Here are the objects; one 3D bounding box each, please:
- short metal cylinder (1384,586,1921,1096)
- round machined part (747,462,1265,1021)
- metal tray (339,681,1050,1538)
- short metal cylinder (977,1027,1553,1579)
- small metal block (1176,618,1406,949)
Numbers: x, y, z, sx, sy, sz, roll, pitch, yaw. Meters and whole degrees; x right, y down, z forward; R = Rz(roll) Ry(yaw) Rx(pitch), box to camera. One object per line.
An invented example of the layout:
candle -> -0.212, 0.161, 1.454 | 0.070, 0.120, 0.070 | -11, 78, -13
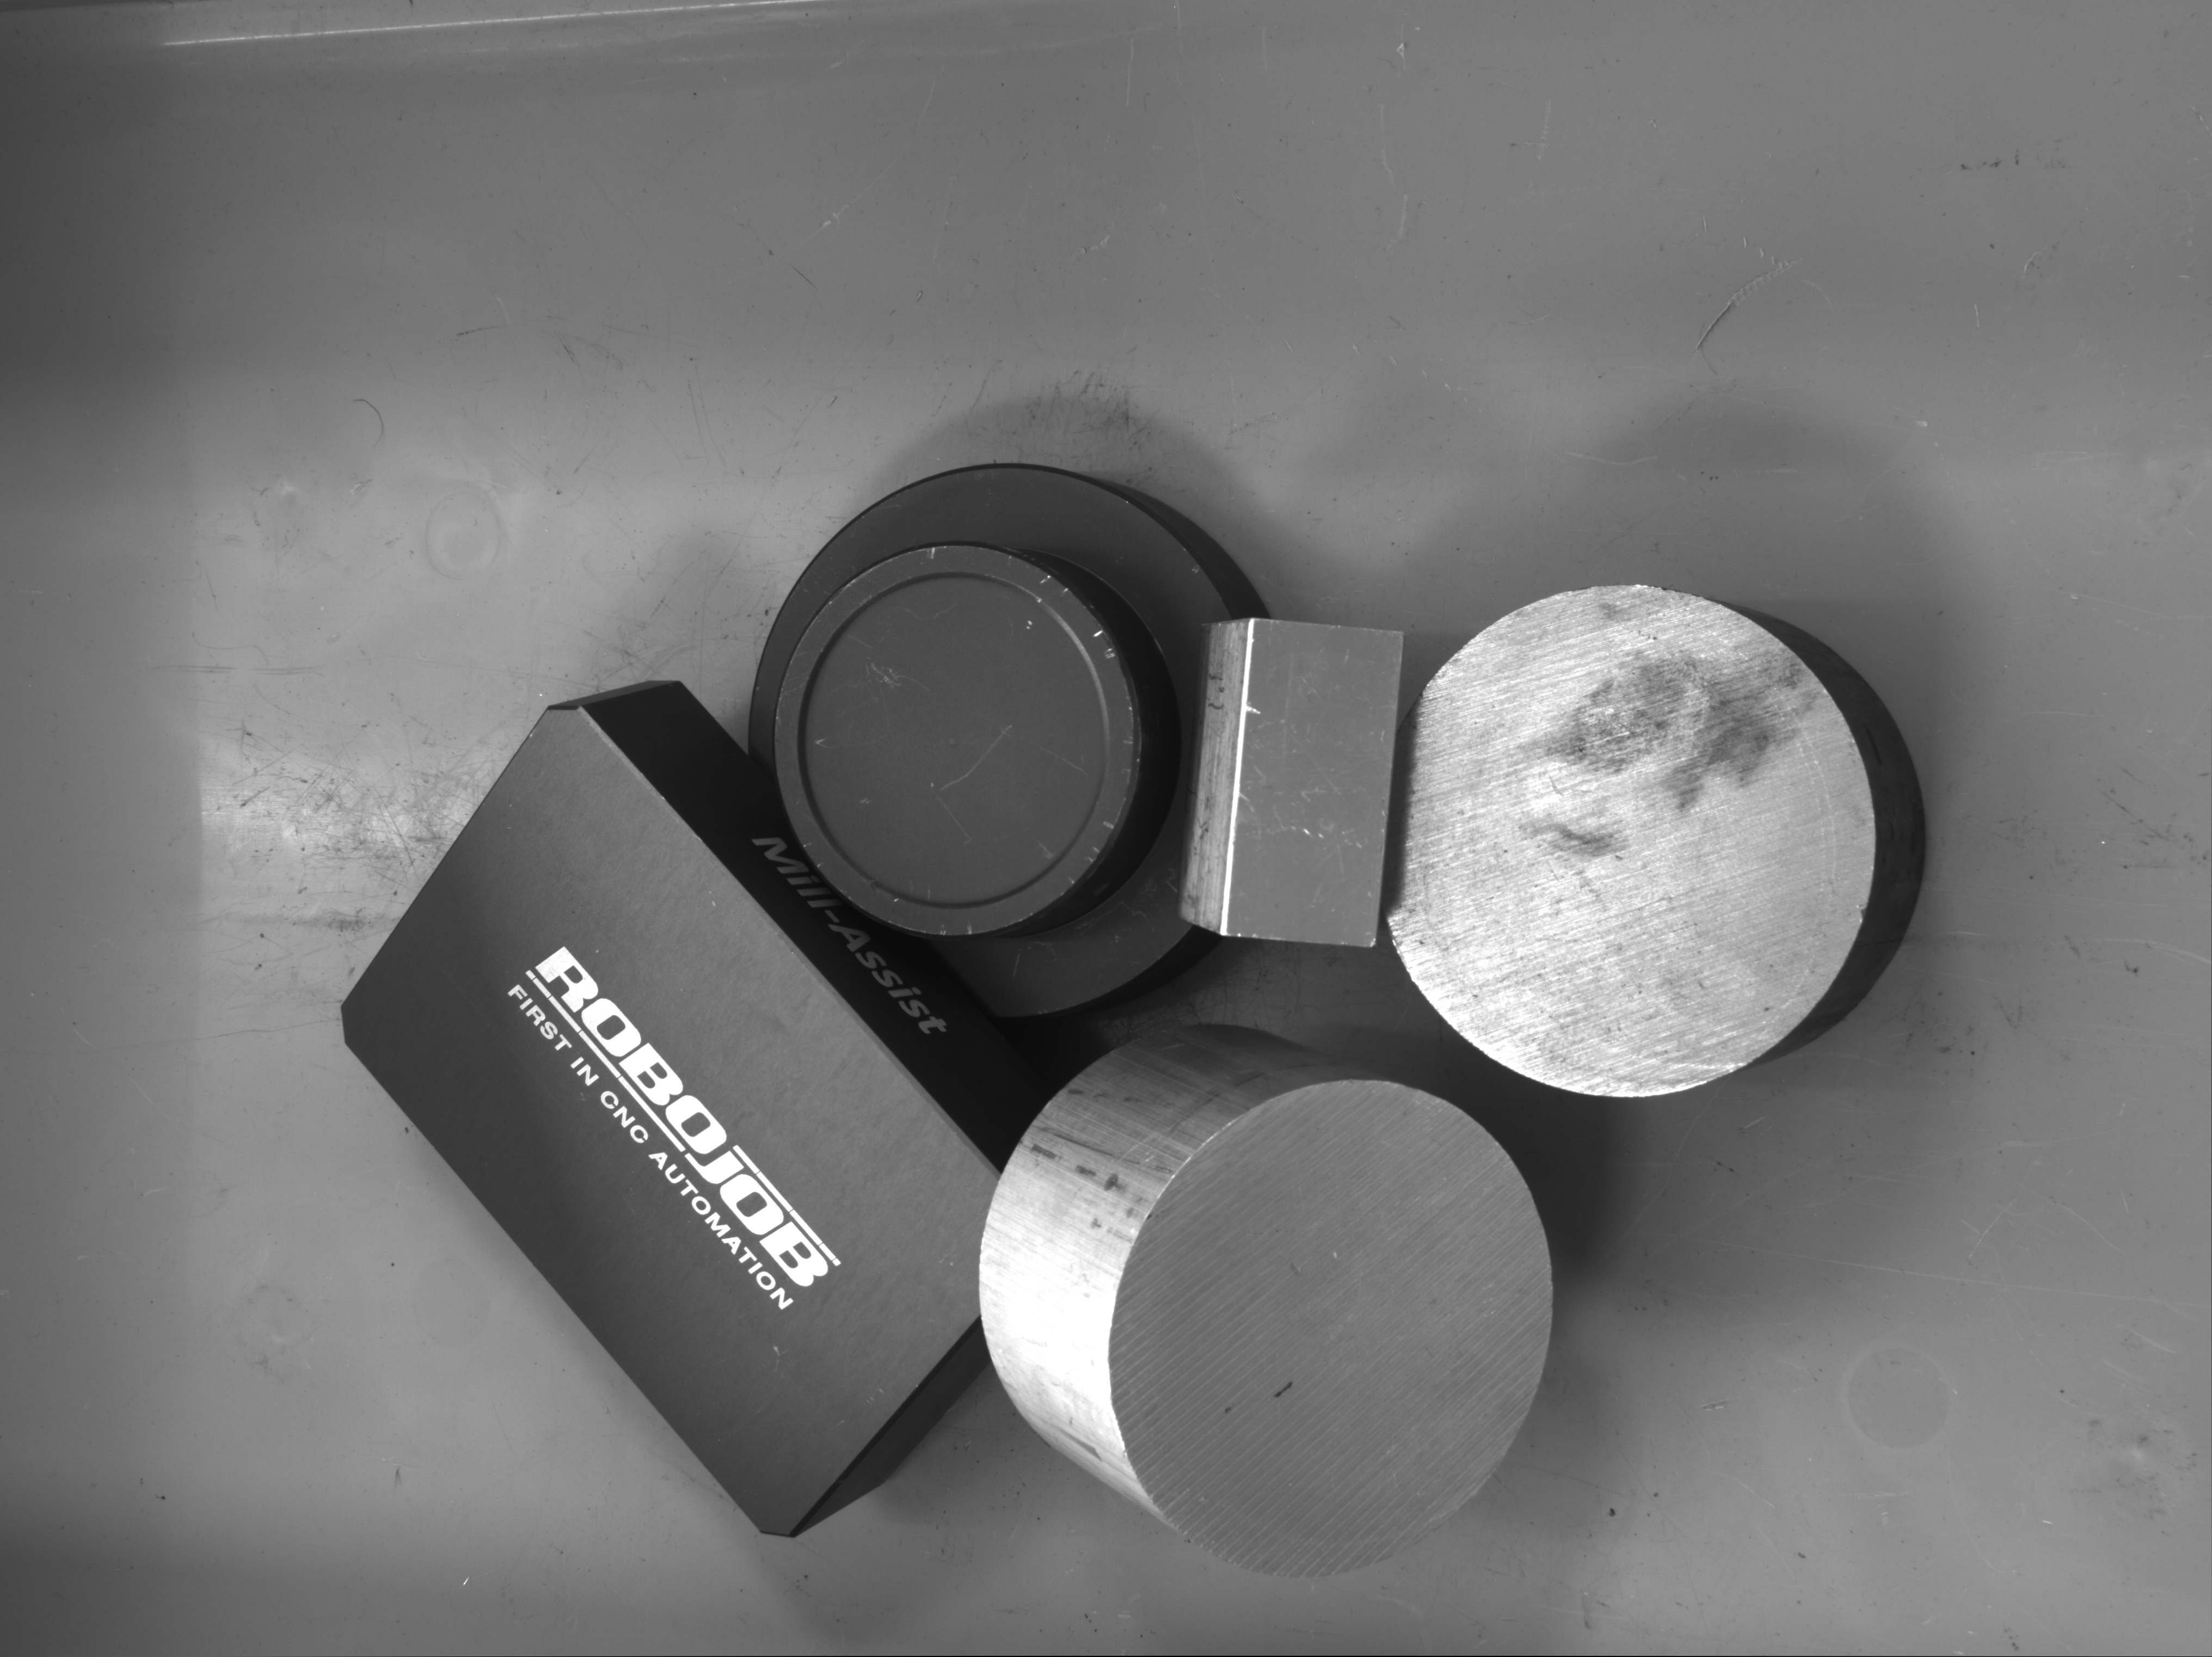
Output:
short metal cylinder -> 0.089, 0.002, 0.600 | 0.080, 0.050, 0.080 | 0, 90, 20
round machined part -> -0.019, -0.015, 0.643 | 0.098, 0.042, 0.098 | 0, 90, 20
metal tray -> -0.069, 0.049, 0.656 | 0.130, 0.030, 0.090 | 47, 120, 14
short metal cylinder -> 0.026, 0.076, 0.600 | 0.050, 0.080, 0.080 | 15, 97, 63
small metal block -> 0.029, -0.008, 0.602 | 0.025, 0.050, 0.050 | 5, 91, -8
